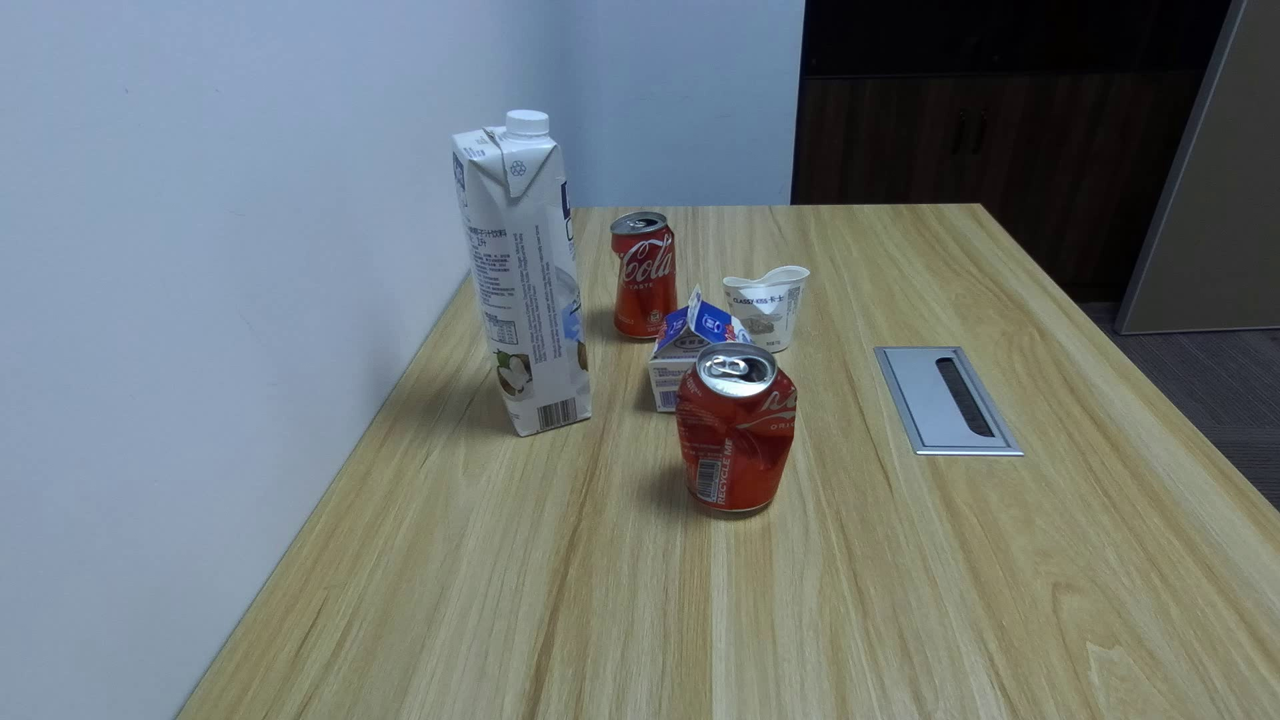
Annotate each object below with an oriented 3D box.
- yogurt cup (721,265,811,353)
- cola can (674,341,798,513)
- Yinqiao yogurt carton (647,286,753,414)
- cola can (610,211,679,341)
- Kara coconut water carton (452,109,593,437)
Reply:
[{"bbox_3d":[0.118,-0.049,0.673,0.076,0.071,0.053,-26,37,-34],"label":"yogurt cup"},{"bbox_3d":[0.062,0.046,0.481,0.069,0.112,0.066,27,43,37],"label":"cola can"},{"bbox_3d":[0.052,-0.011,0.590,0.080,0.097,0.074,-2,31,15],"label":"Yinqiao yogurt carton"},{"bbox_3d":[0.005,-0.082,0.696,0.065,0.117,0.072,2,32,5],"label":"cola can"},{"bbox_3d":[-0.087,-0.061,0.546,0.075,0.245,0.076,-14,34,-16],"label":"Kara coconut water carton"}]
